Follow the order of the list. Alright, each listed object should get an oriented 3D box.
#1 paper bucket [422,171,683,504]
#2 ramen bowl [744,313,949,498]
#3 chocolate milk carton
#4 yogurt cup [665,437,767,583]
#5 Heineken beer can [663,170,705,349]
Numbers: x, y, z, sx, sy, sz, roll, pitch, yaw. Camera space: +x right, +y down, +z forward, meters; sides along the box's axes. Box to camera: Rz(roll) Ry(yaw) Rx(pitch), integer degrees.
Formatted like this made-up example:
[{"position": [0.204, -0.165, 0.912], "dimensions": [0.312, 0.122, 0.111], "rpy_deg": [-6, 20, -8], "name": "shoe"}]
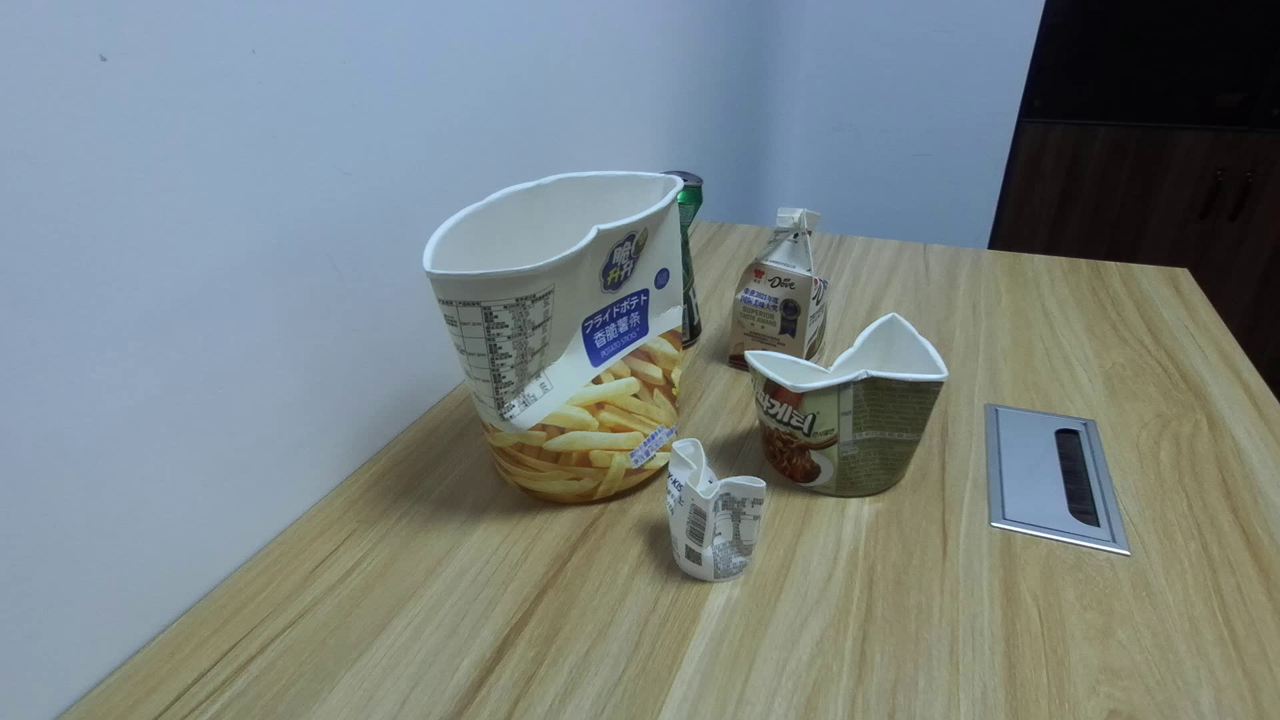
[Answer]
[{"position": [-0.042, -0.019, 0.511], "dimensions": [0.147, 0.199, 0.218], "rpy_deg": [1, 29, 4], "name": "paper bucket"}, {"position": [0.141, 0.030, 0.517], "dimensions": [0.128, 0.093, 0.111], "rpy_deg": [-5, 31, -5], "name": "ramen bowl"}, {"position": [0.130, -0.067, 0.634], "dimensions": [0.073, 0.155, 0.076], "rpy_deg": [15, 31, 25], "name": "chocolate milk carton"}, {"position": [0.044, 0.092, 0.433], "dimensions": [0.055, 0.072, 0.054], "rpy_deg": [-10, 32, -9], "name": "yogurt cup"}, {"position": [0.030, -0.093, 0.679], "dimensions": [0.078, 0.164, 0.065], "rpy_deg": [-19, 32, -37], "name": "Heineken beer can"}]
